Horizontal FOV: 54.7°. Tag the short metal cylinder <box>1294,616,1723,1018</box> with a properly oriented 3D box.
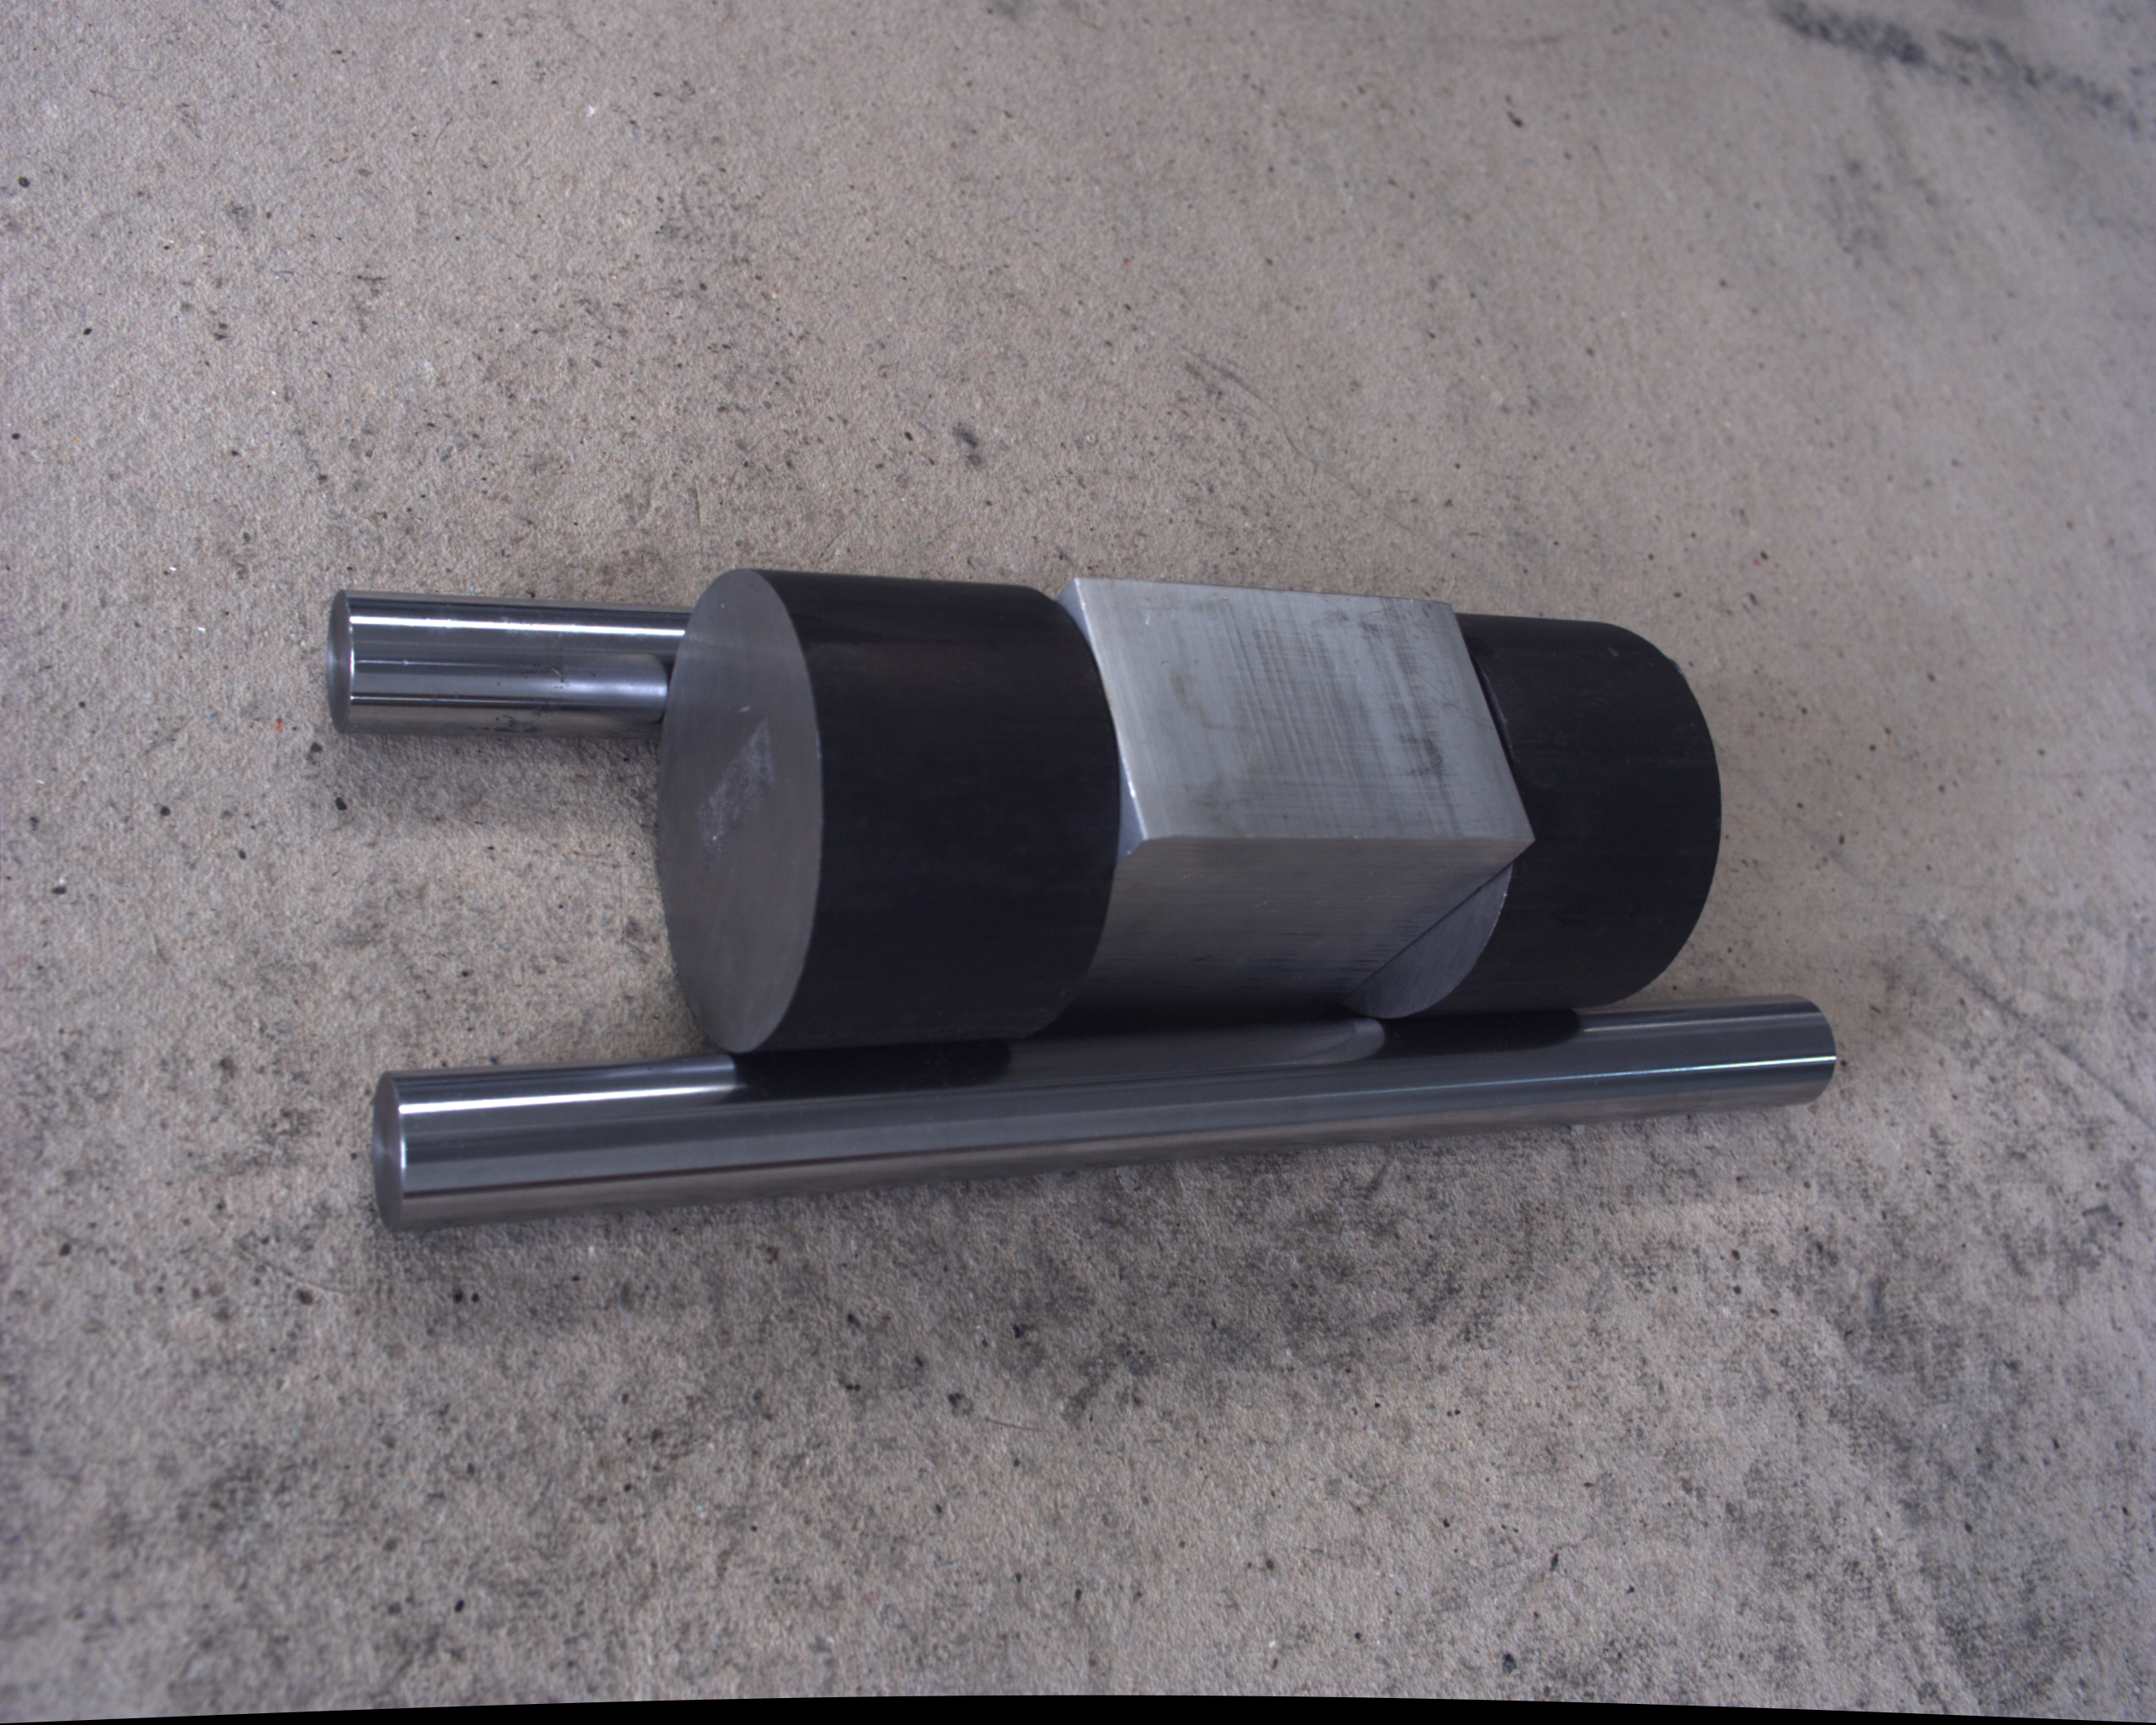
[{"bbox_3d":[0.081,-0.010,0.419,0.050,0.080,0.080,-1,62,-29],"label":"short metal cylinder"}]

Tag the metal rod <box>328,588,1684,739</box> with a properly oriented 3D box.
[{"bbox_3d":[0.006,-0.036,0.431,0.303,0.025,0.025,-1,62,-29],"label":"metal rod"}]

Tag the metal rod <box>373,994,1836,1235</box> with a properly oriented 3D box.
[{"bbox_3d":[0.027,0.043,0.393,0.303,0.025,0.025,-1,62,-29],"label":"metal rod"}]

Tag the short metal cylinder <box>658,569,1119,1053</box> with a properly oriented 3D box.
[{"bbox_3d":[-0.035,-0.009,0.356,0.050,0.080,0.080,-1,62,-29],"label":"short metal cylinder"}]

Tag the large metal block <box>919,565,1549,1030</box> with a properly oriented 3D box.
[{"bbox_3d":[0.024,-0.009,0.385,0.081,0.080,0.050,0,62,-28],"label":"large metal block"}]
